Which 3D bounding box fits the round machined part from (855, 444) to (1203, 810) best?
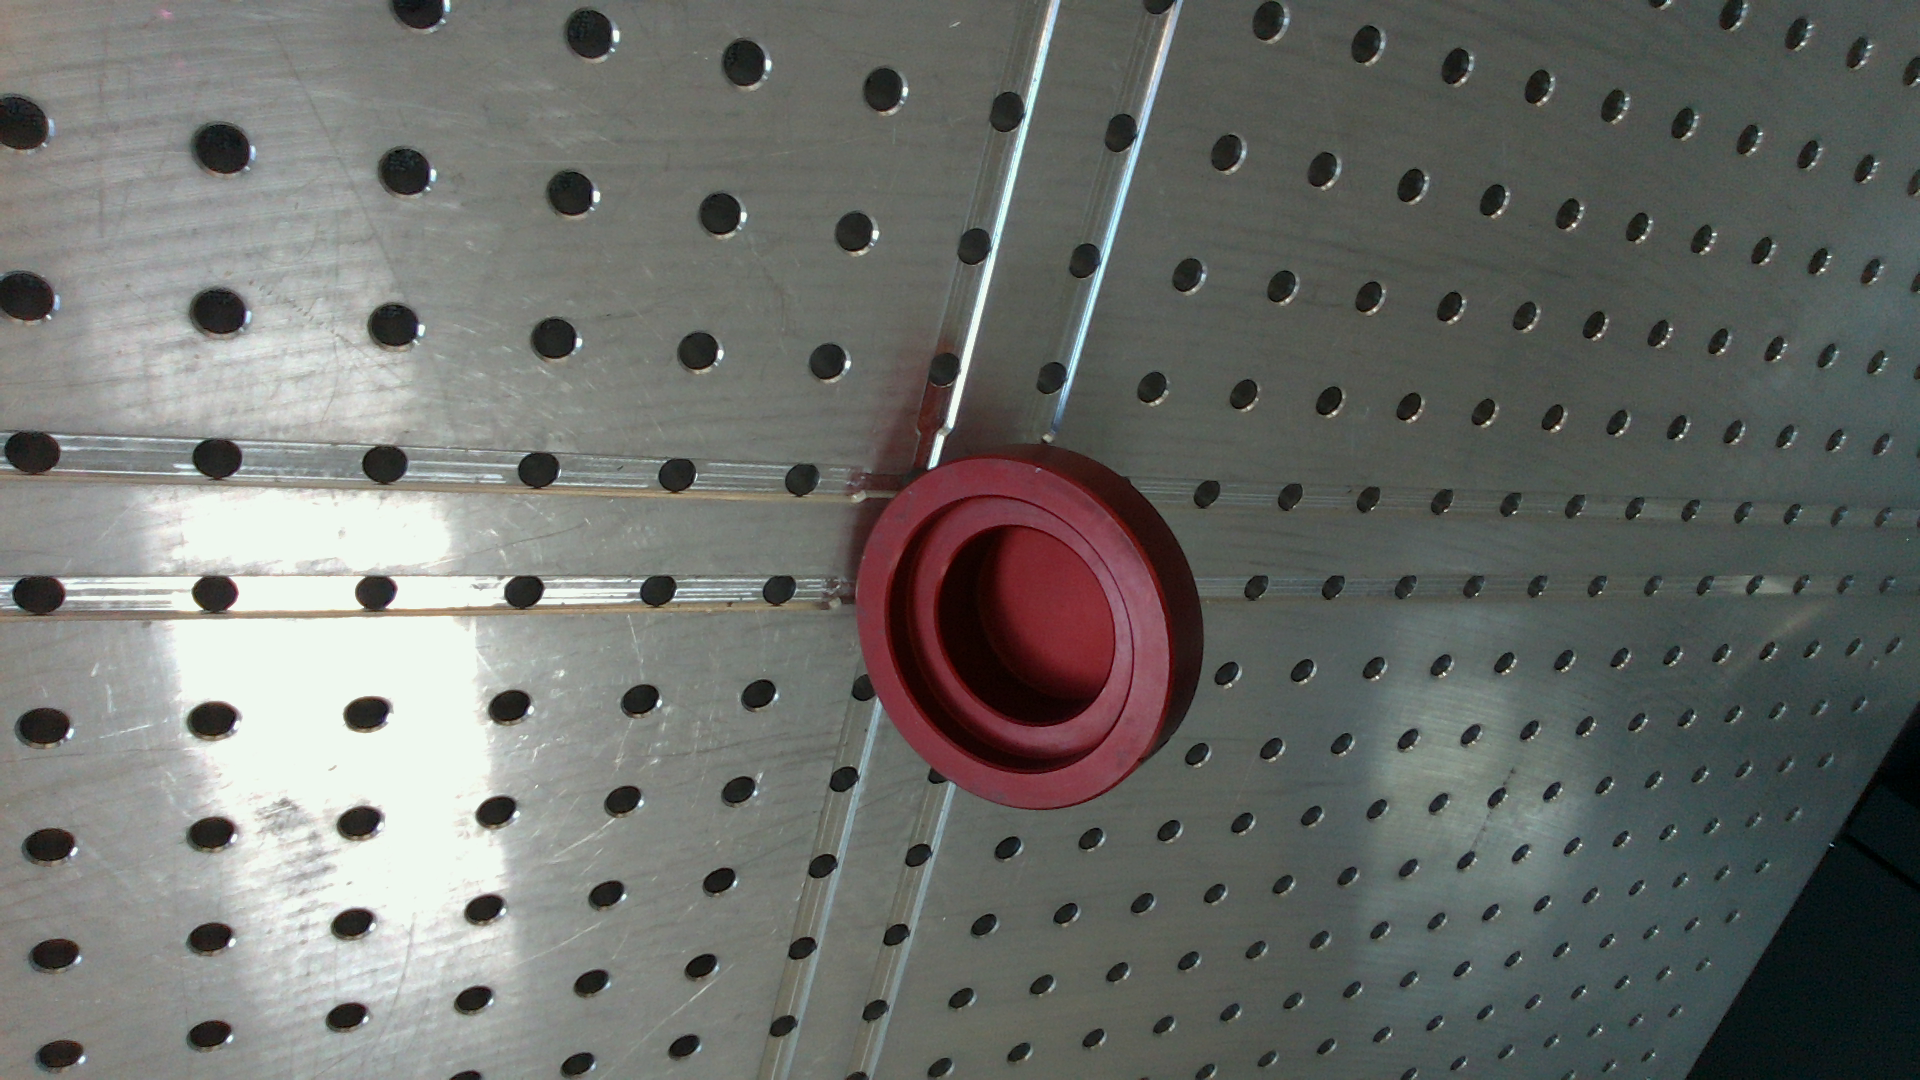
[{"bbox_3d":[0.022,0.021,0.382,0.042,0.098,0.098,-21,134,-55],"label":"round machined part"}]
